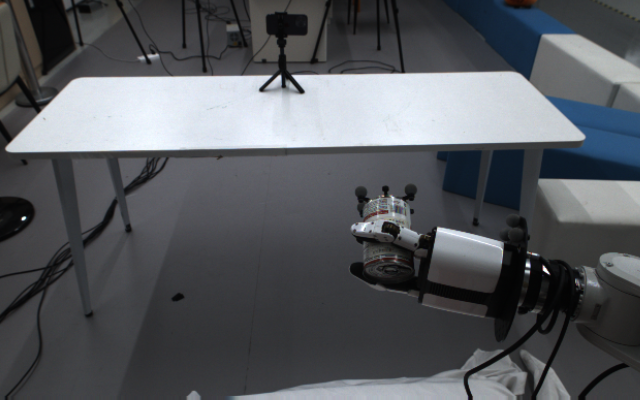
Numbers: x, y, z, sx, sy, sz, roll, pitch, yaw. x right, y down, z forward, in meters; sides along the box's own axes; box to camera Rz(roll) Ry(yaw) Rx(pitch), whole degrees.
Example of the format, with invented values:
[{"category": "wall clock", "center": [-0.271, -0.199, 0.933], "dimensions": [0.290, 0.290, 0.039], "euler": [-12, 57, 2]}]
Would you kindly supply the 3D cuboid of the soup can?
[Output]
[{"category": "soup can", "center": [0.092, 0.053, 0.651], "dimensions": [0.067, 0.067, 0.101], "euler": [3, 57, 1]}]
